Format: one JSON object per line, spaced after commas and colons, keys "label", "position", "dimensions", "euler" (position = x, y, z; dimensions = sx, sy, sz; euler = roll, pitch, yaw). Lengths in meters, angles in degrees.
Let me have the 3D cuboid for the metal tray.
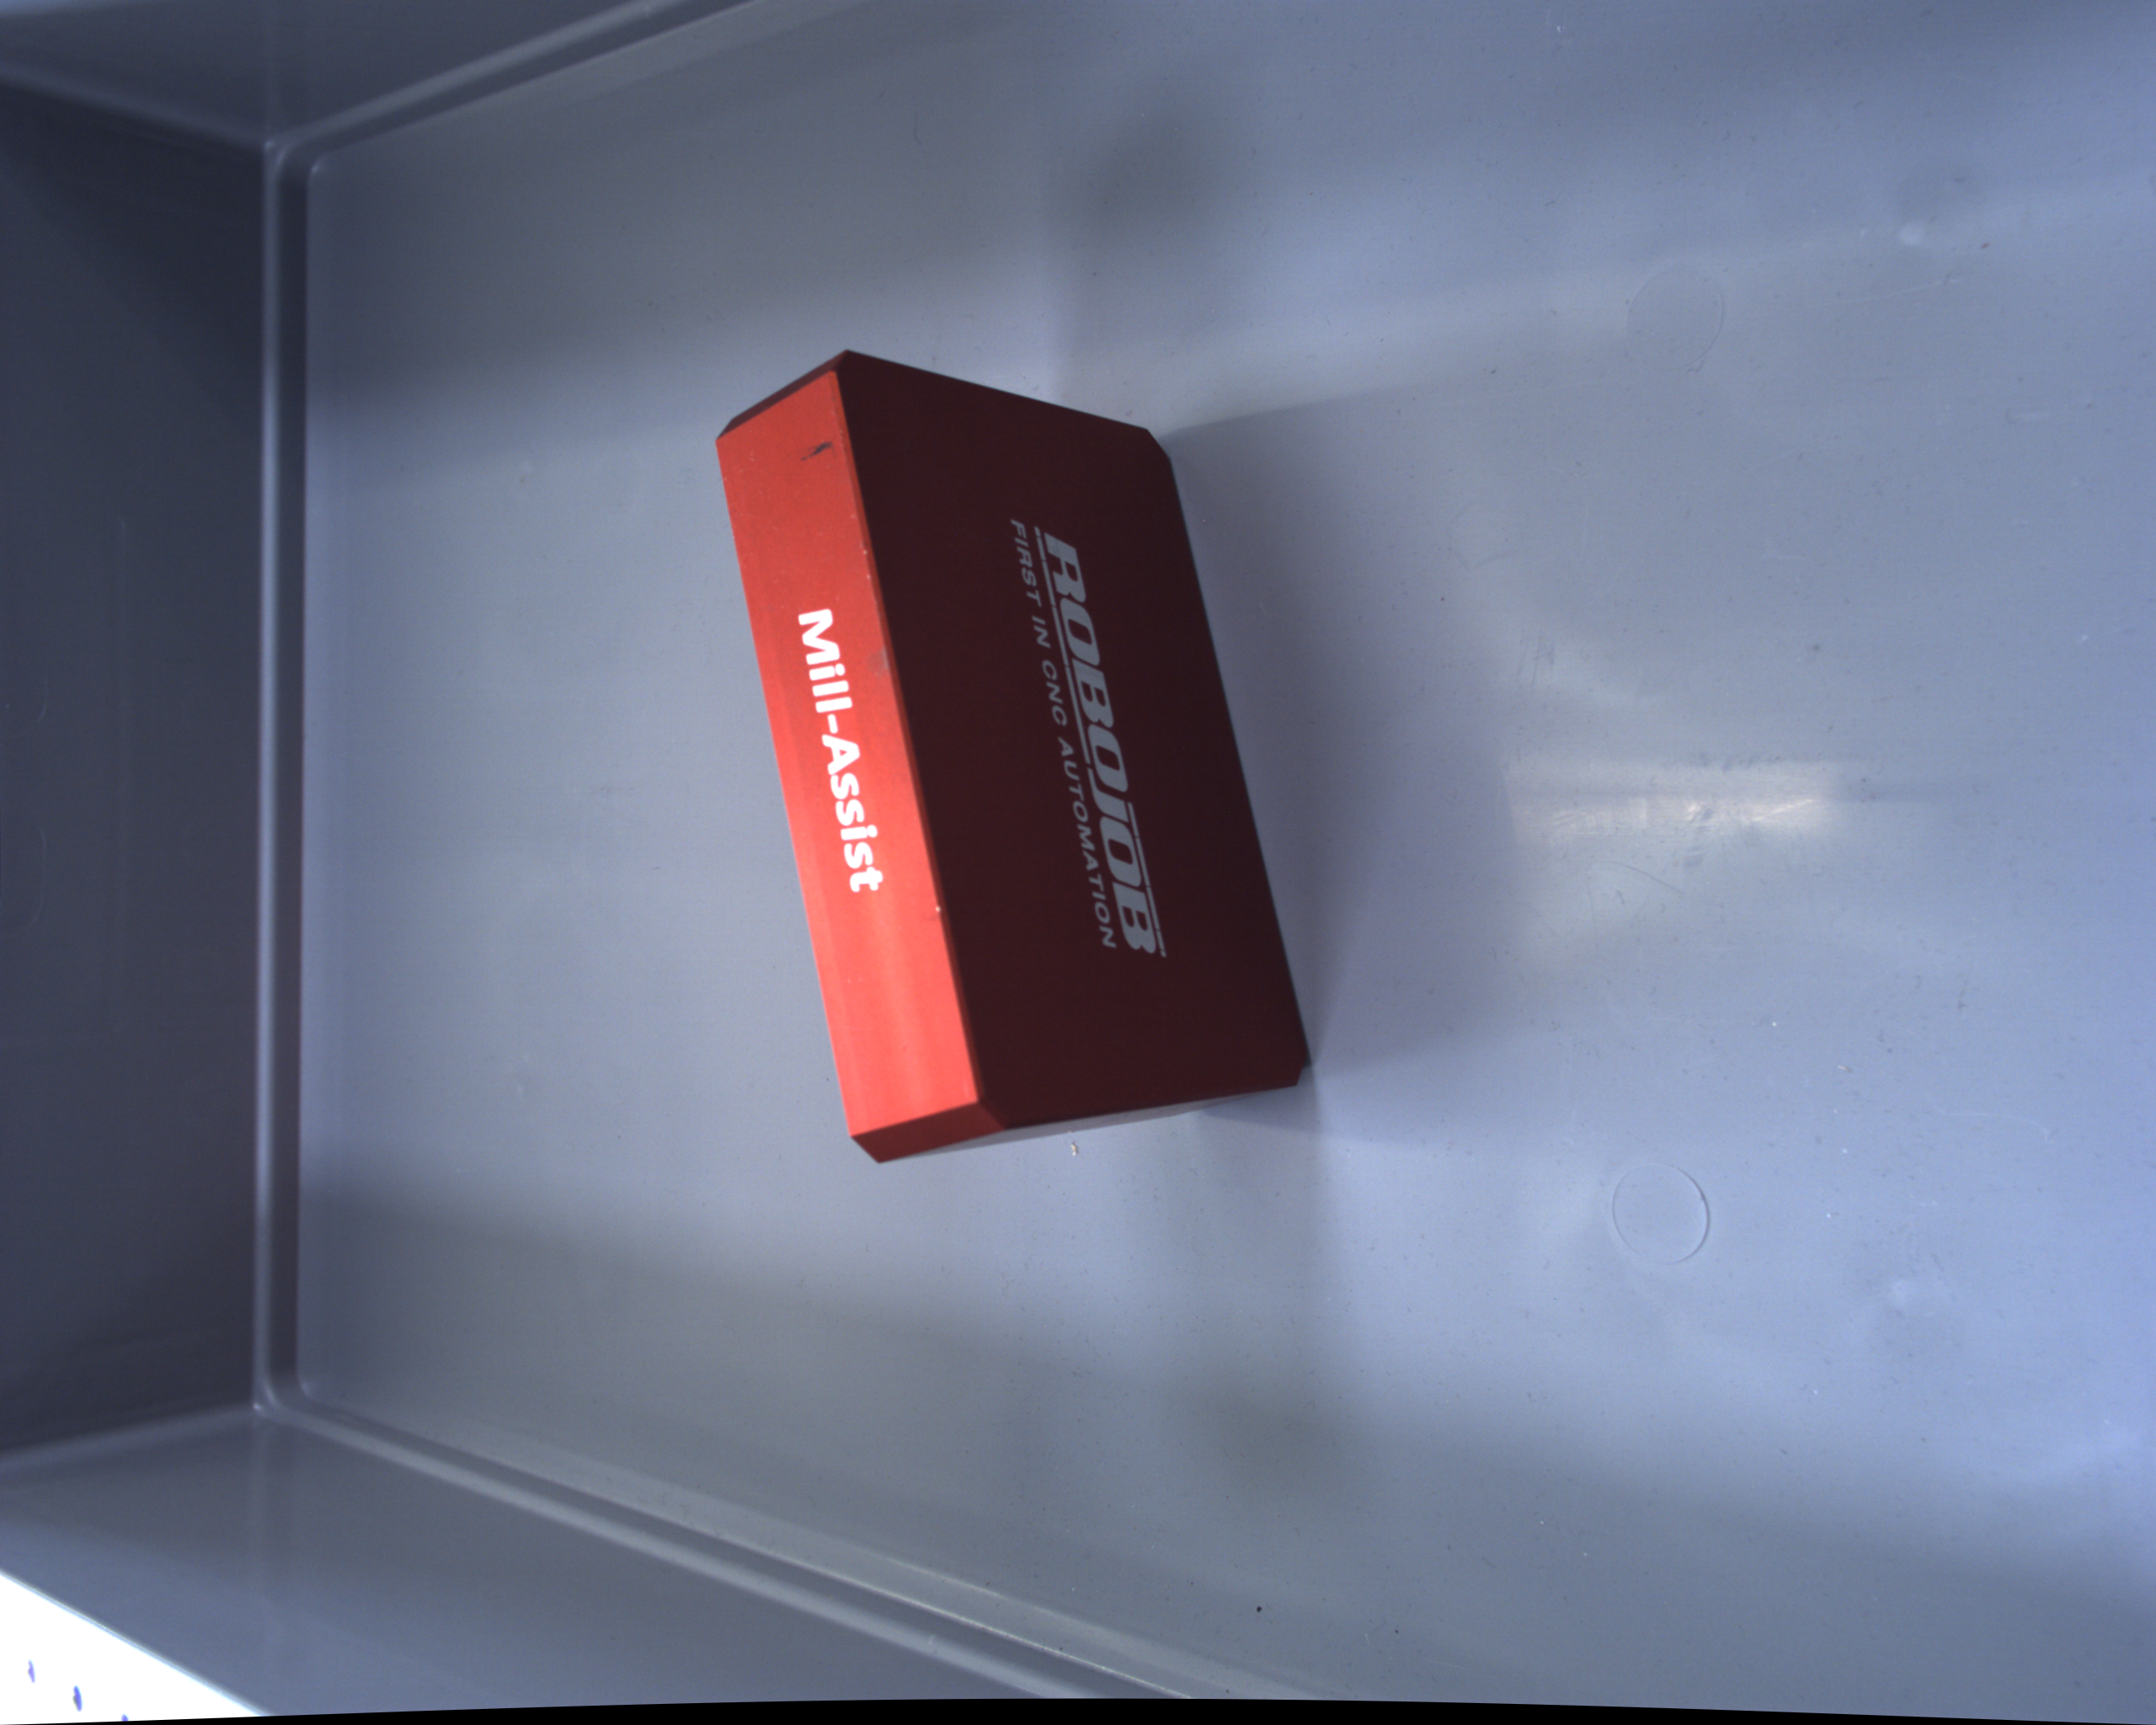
{"label": "metal tray", "position": [-0.010, -0.018, 0.370], "dimensions": [0.030, 0.091, 0.129], "euler": [-20, 78, 37]}
